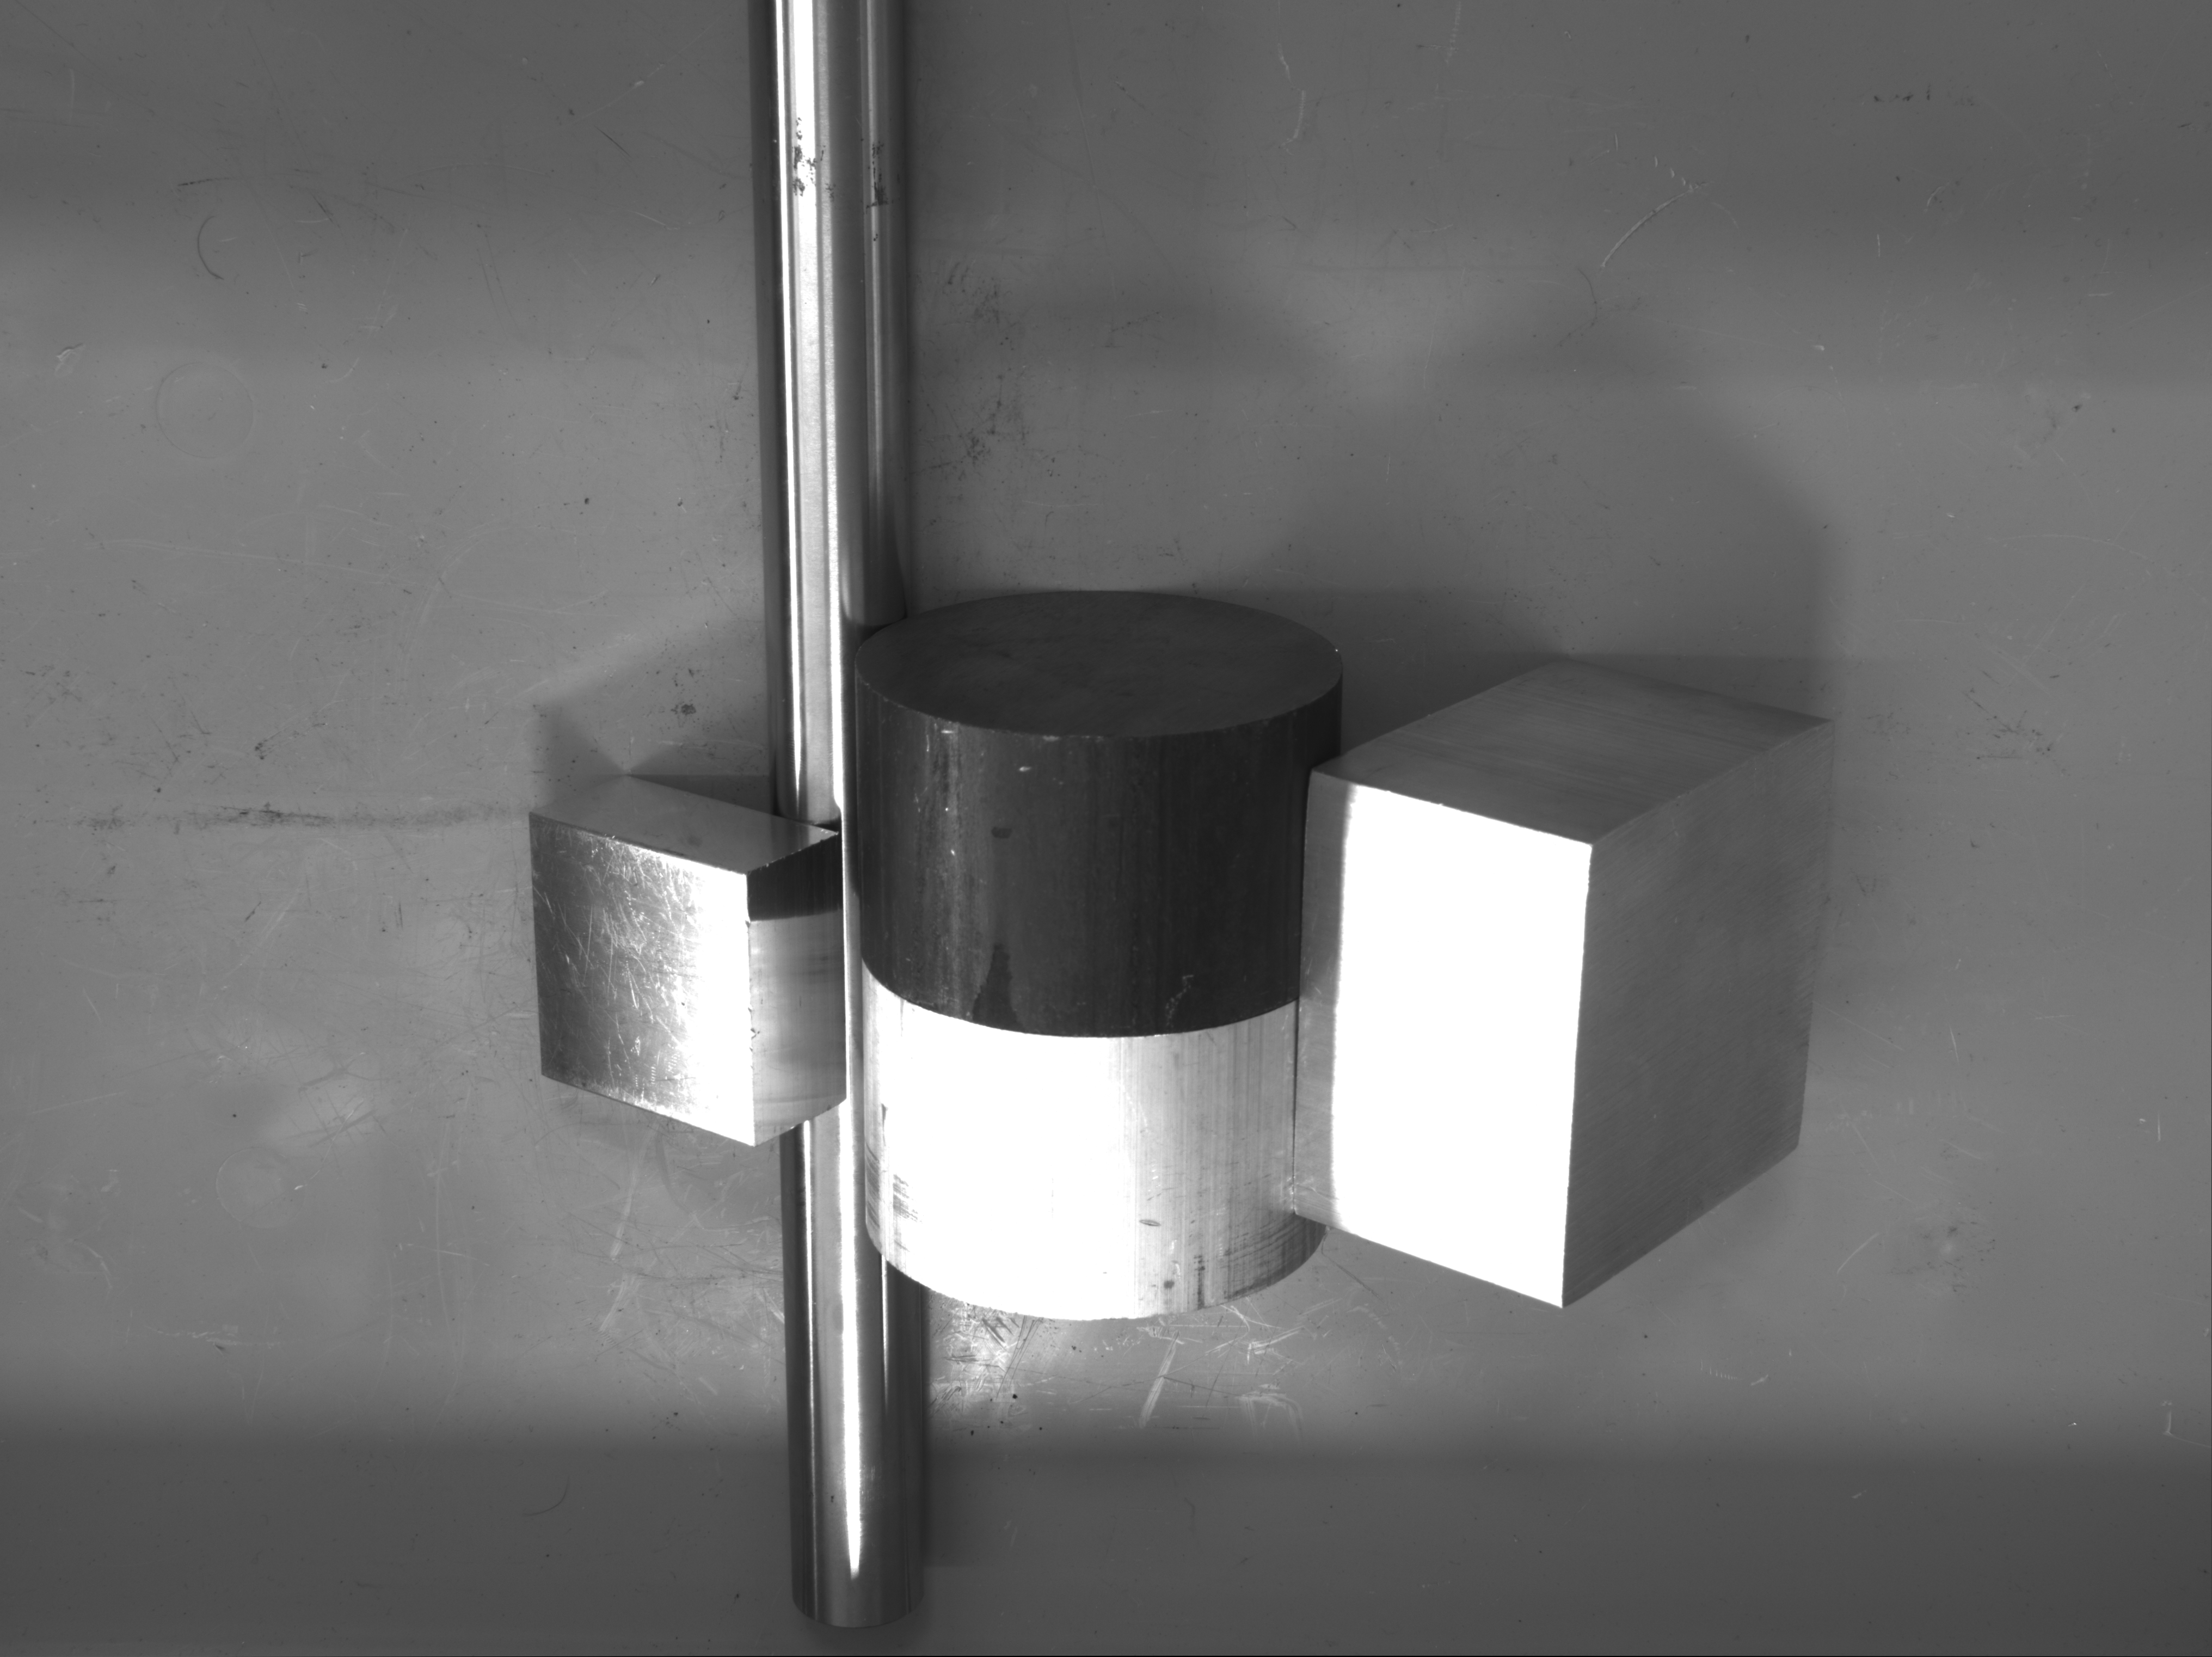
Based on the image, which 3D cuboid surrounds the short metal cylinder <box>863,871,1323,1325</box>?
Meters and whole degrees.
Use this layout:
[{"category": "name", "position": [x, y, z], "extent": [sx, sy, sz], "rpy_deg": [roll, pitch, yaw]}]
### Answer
[{"category": "short metal cylinder", "position": [-0.001, 0.044, 0.629], "extent": [0.080, 0.080, 0.050], "rpy_deg": [0, 110, 0]}]

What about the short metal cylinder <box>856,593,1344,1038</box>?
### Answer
[{"category": "short metal cylinder", "position": [-0.001, -0.004, 0.612], "extent": [0.080, 0.080, 0.050], "rpy_deg": [0, 110, 0]}]

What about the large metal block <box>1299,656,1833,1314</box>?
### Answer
[{"category": "large metal block", "position": [0.077, 0.023, 0.614], "extent": [0.050, 0.080, 0.080], "rpy_deg": [16, 115, 35]}]

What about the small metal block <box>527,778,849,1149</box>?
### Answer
[{"category": "small metal block", "position": [-0.073, 0.023, 0.639], "extent": [0.050, 0.025, 0.050], "rpy_deg": [13, 113, 33]}]

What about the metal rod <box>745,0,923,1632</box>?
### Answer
[{"category": "metal rod", "position": [-0.046, 0.004, 0.643], "extent": [0.025, 0.025, 0.300], "rpy_deg": [0, 110, 0]}]
